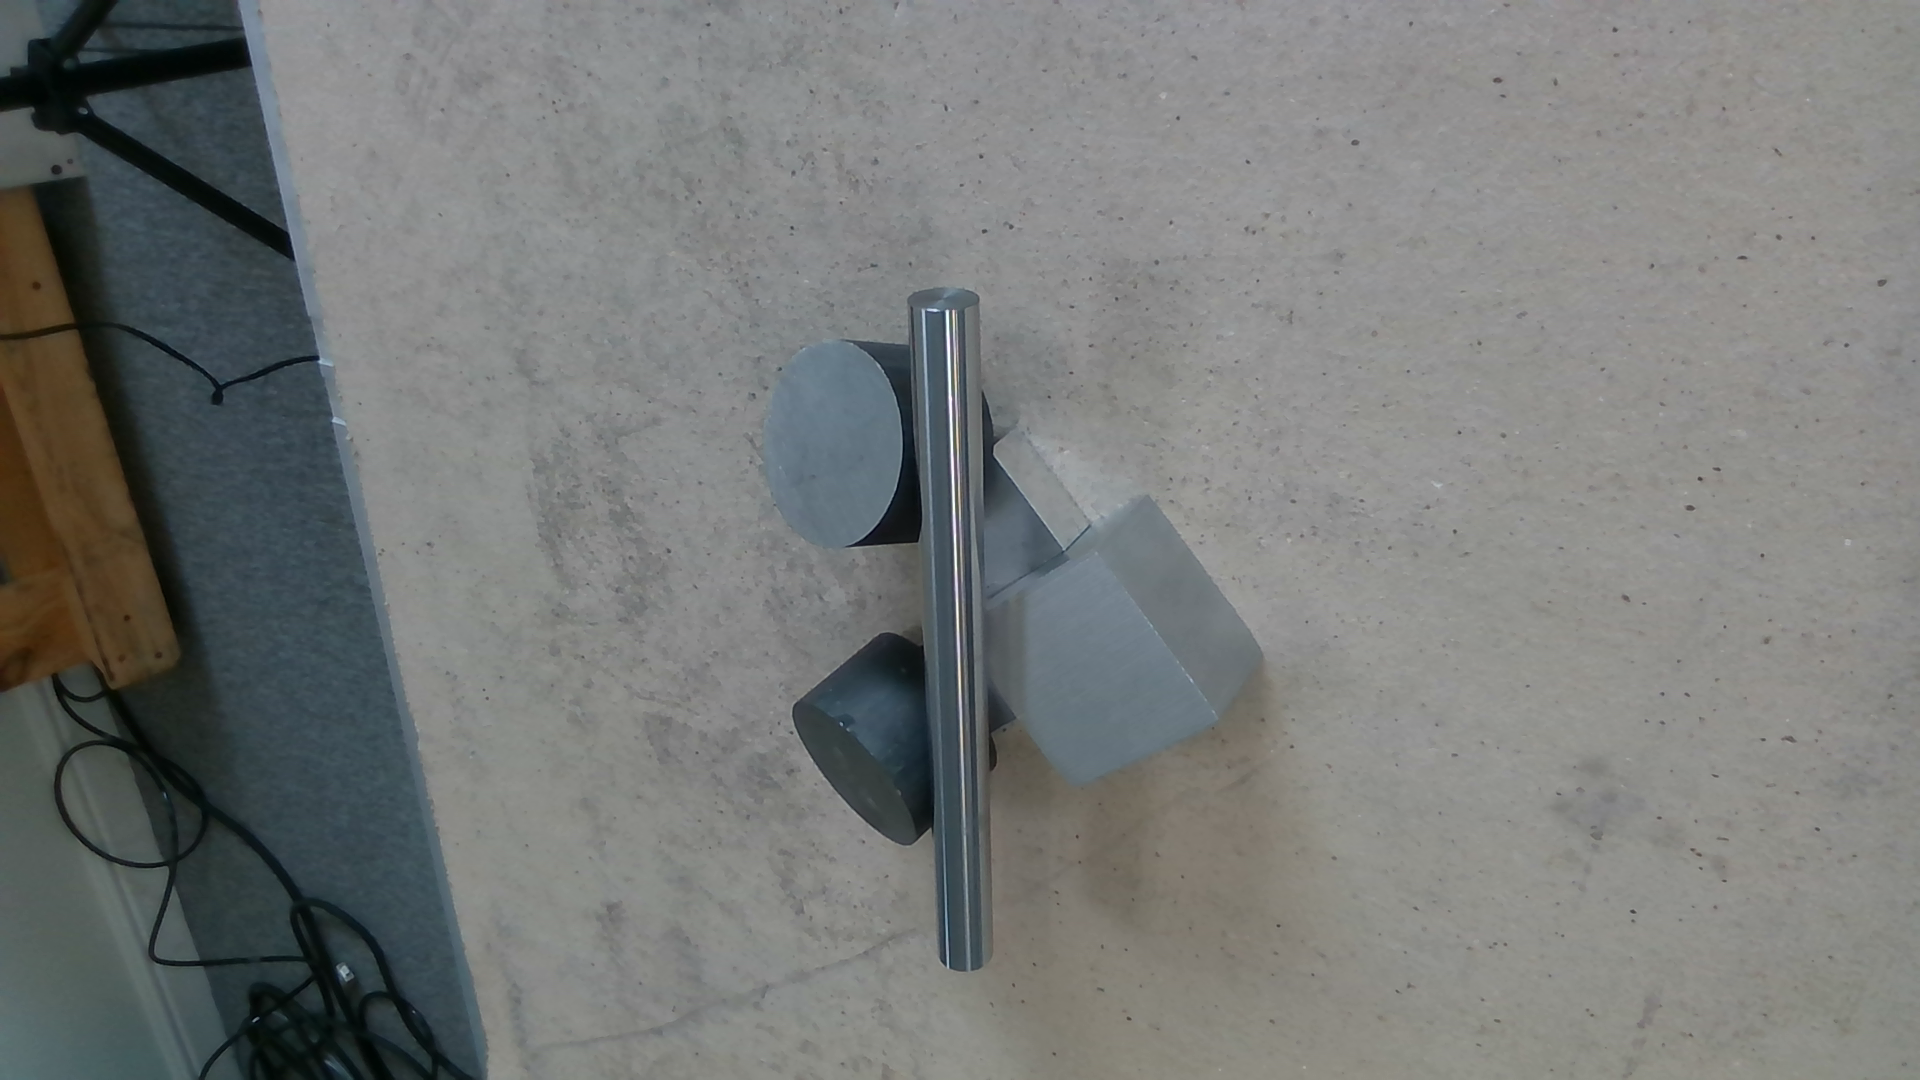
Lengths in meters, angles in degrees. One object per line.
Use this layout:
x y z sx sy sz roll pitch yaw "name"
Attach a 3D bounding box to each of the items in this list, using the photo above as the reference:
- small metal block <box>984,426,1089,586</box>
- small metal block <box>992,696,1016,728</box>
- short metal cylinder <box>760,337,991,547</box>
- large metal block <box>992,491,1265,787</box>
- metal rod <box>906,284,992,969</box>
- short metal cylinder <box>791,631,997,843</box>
0.016 -0.011 0.565 0.050 0.025 0.050 -35 96 39 "small metal block"
0.015 0.052 0.600 0.050 0.025 0.050 -35 95 39 "small metal block"
-0.034 -0.038 0.545 0.080 0.050 0.080 3 95 43 "short metal cylinder"
0.059 0.040 0.548 0.080 0.050 0.080 -33 95 39 "large metal block"
-0.002 0.049 0.542 0.025 0.025 0.301 13 121 25 "metal rod"
-0.030 0.088 0.613 0.080 0.050 0.080 38 152 24 "short metal cylinder"
